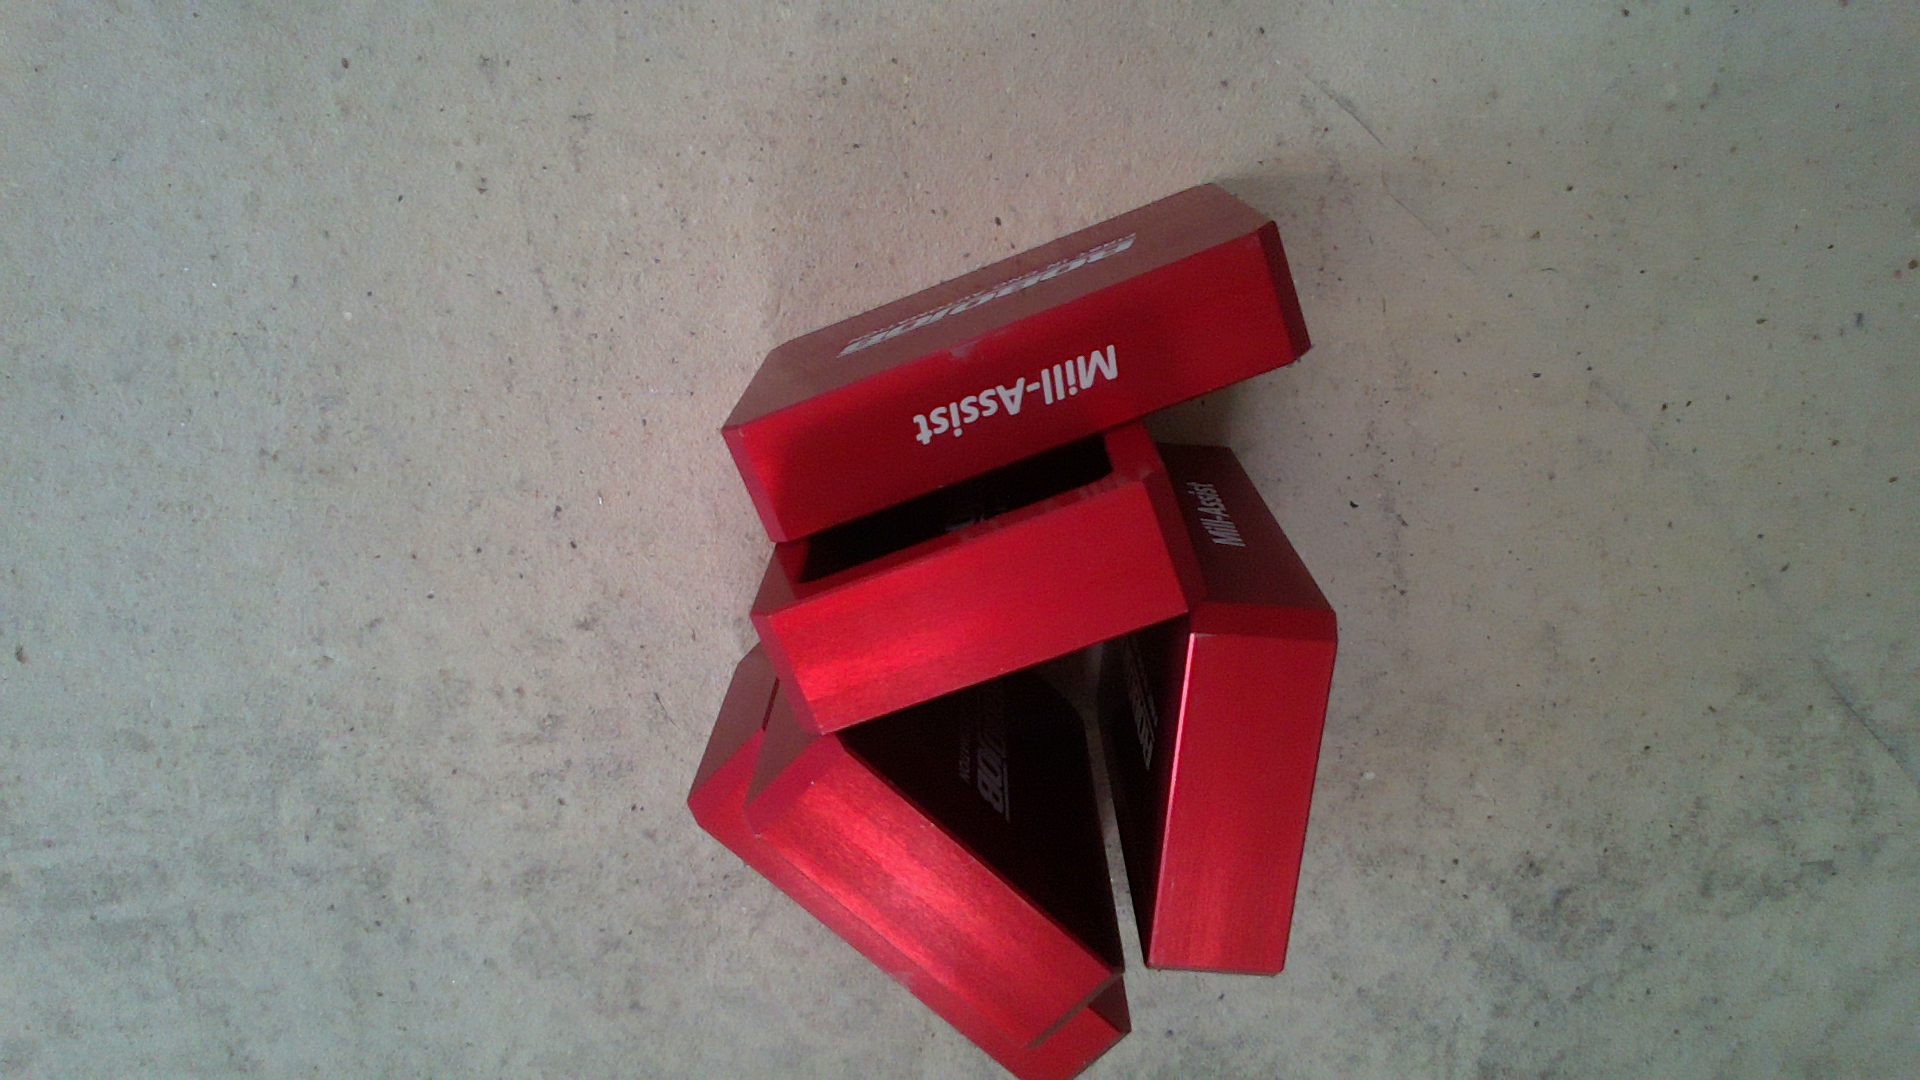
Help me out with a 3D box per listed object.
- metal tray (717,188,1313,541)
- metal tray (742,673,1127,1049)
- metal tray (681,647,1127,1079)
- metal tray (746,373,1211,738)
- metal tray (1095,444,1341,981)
[{"bbox_3d":[0.012,-0.047,0.342,0.130,0.090,0.030,-19,109,6],"label":"metal tray"},{"bbox_3d":[-0.005,0.058,0.359,0.090,0.130,0.030,42,105,-14],"label":"metal tray"},{"bbox_3d":[-0.012,0.085,0.390,0.130,0.090,0.030,42,105,-14],"label":"metal tray"},{"bbox_3d":[0.004,-0.008,0.335,0.090,0.130,0.030,-19,109,7],"label":"metal tray"},{"bbox_3d":[0.059,0.036,0.351,0.030,0.130,0.090,4,110,-1],"label":"metal tray"}]
